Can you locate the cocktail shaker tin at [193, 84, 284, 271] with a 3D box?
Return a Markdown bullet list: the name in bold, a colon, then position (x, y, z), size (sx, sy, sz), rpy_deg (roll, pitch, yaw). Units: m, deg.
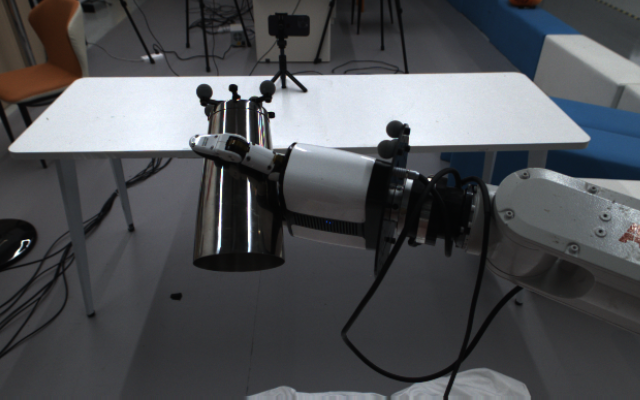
- **cocktail shaker tin**: position (-0.085, -0.015, 0.514), size (0.093, 0.093, 0.170), rpy_deg (-2, 71, -6)
